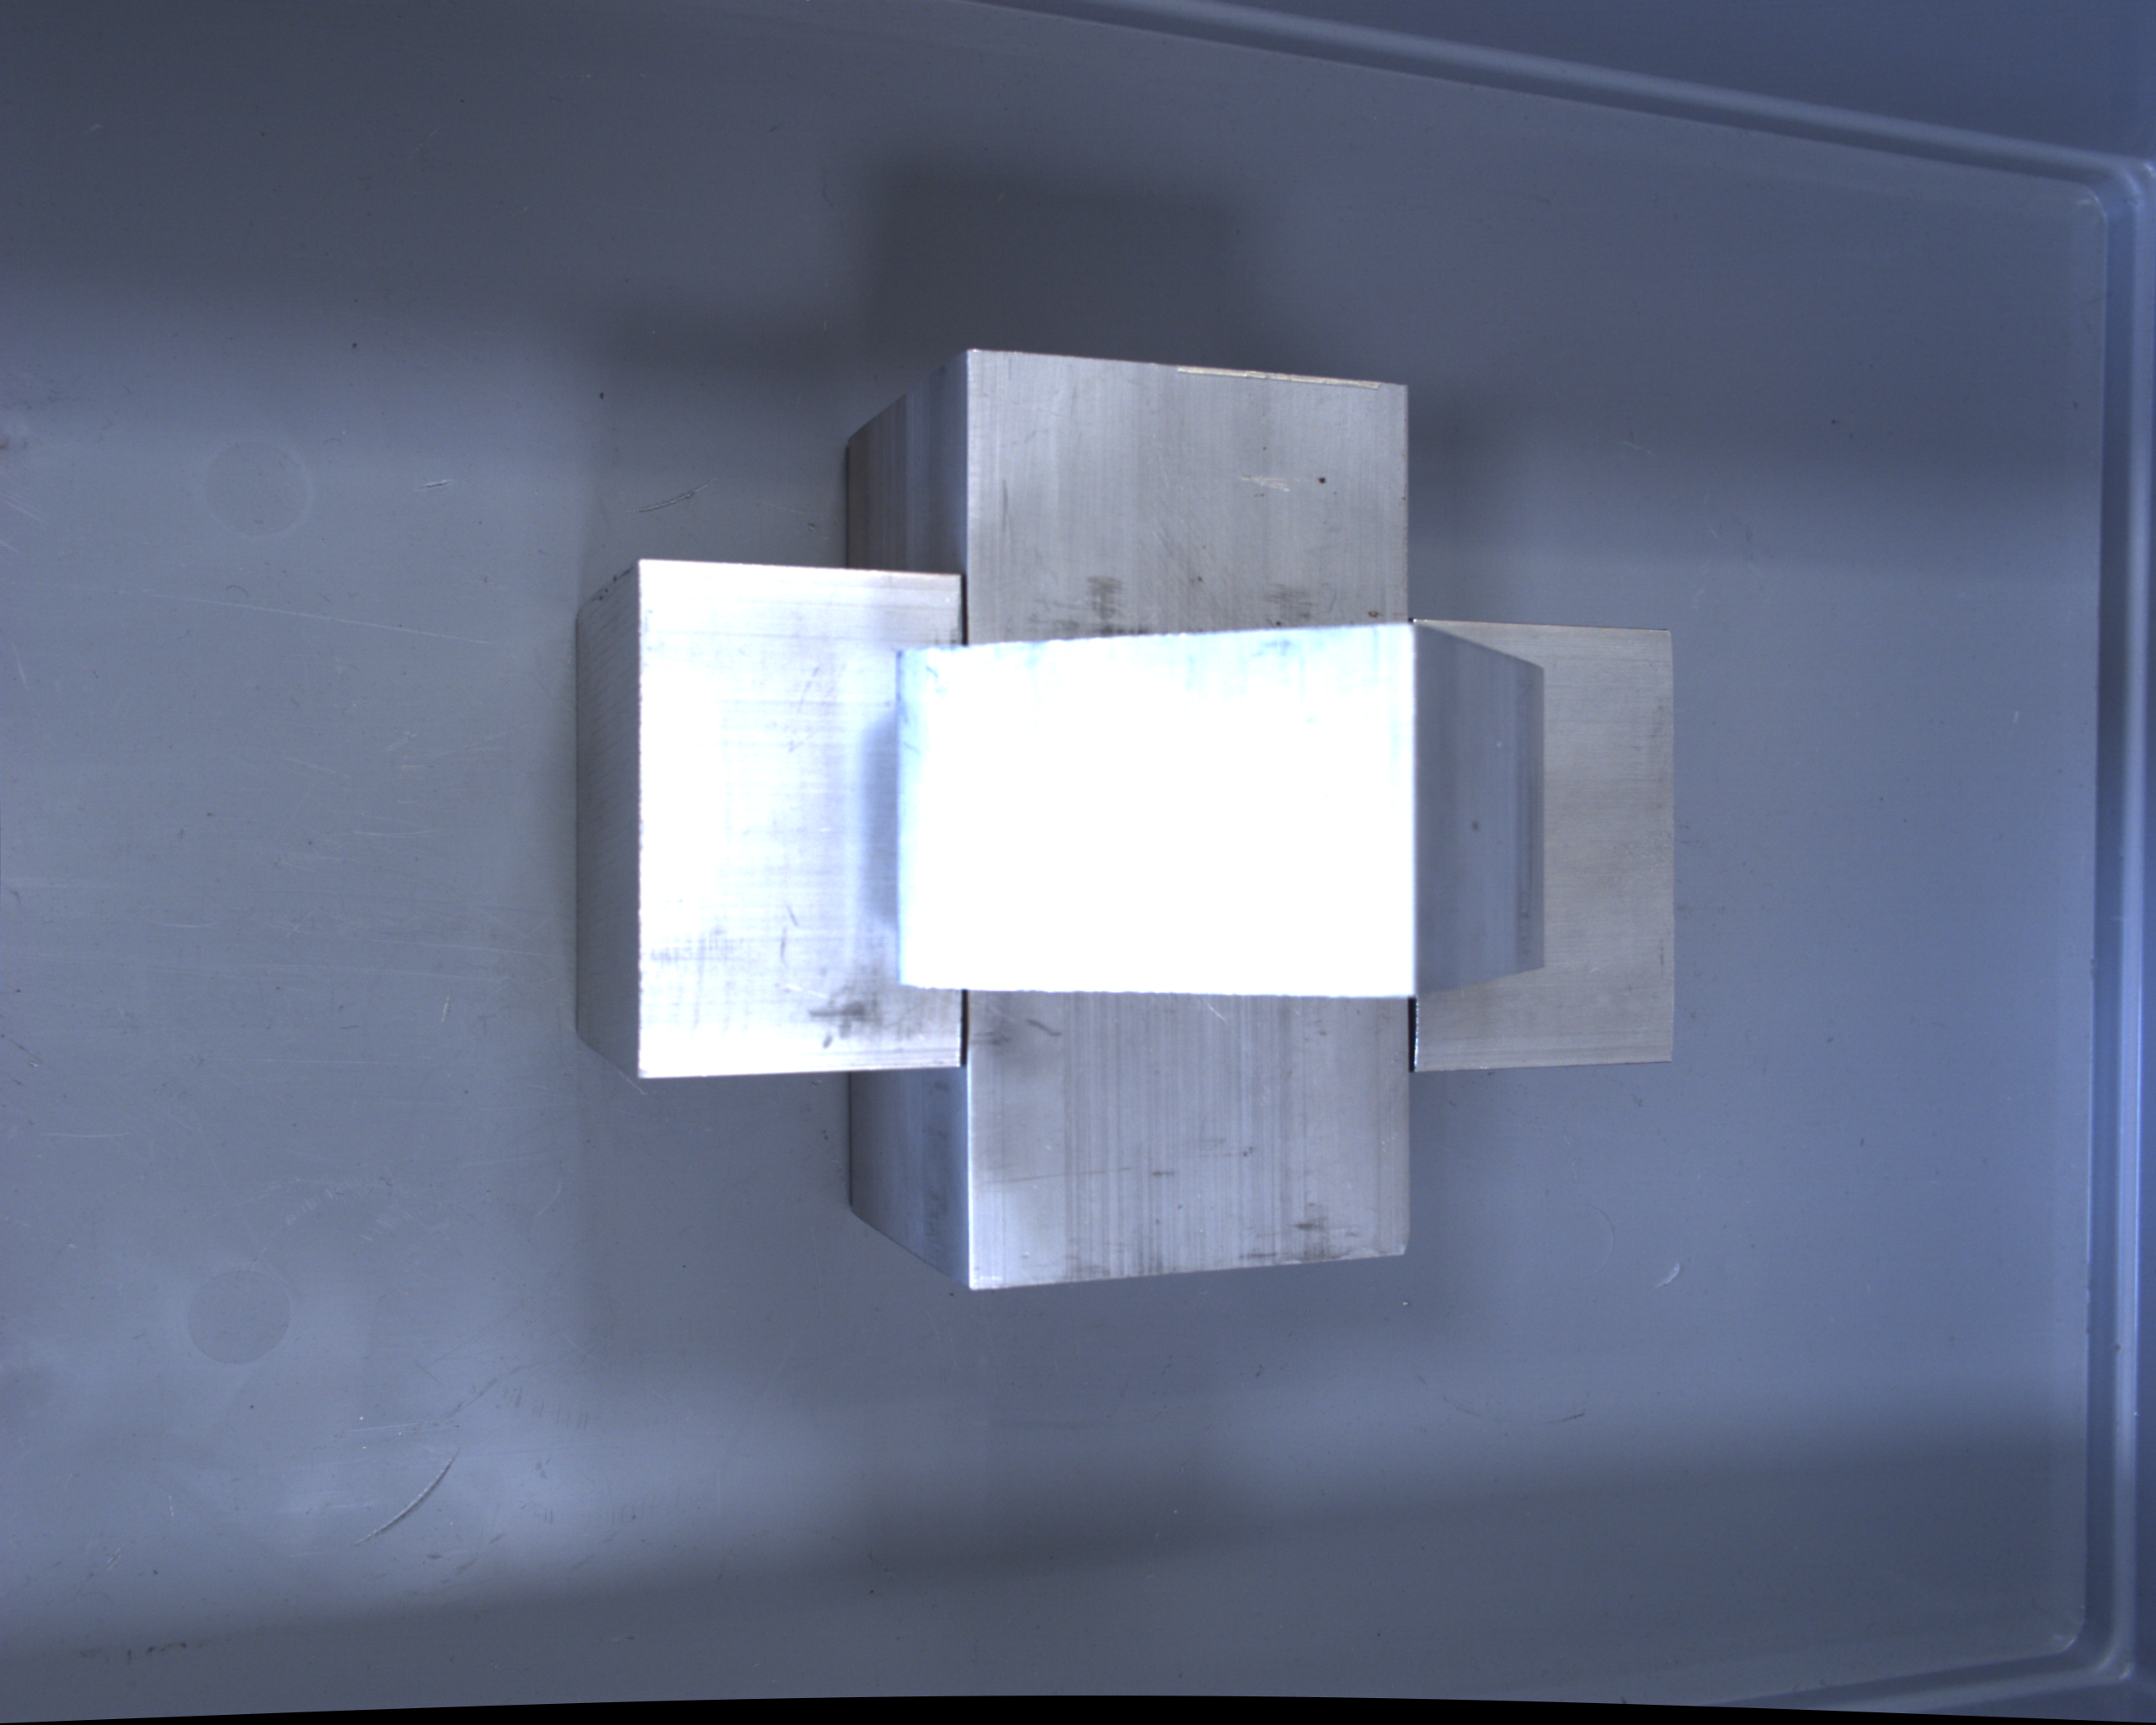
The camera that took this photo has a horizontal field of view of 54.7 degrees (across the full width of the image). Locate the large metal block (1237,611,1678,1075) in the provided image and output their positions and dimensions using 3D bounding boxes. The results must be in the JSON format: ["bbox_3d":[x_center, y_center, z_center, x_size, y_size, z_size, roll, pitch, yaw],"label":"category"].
[{"bbox_3d":[0.070,-0.004,0.404,0.050,0.080,0.080,0,90,-21],"label":"large metal block"}]

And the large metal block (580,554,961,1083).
[{"bbox_3d":[-0.056,-0.007,0.360,0.050,0.080,0.080,0,90,-20],"label":"large metal block"}]

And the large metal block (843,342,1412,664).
[{"bbox_3d":[0.006,-0.058,0.382,0.081,0.080,0.050,0,90,-20],"label":"large metal block"}]

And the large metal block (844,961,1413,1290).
[{"bbox_3d":[0.006,0.043,0.382,0.081,0.080,0.050,0,90,-20],"label":"large metal block"}]

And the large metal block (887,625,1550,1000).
[{"bbox_3d":[0.025,-0.007,0.329,0.080,0.080,0.050,-1,91,-65],"label":"large metal block"}]
